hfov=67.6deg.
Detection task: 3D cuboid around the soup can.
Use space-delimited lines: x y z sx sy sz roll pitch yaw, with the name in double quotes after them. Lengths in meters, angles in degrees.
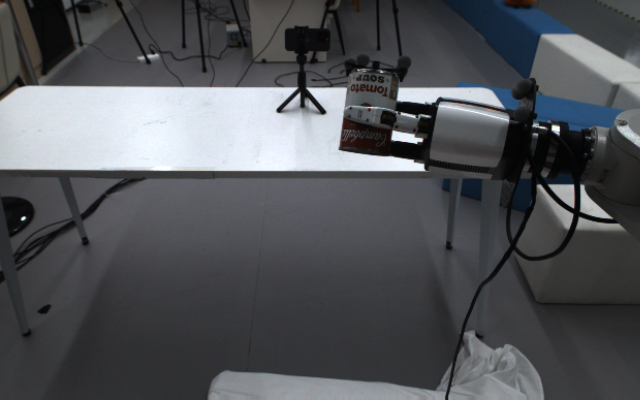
0.065 -0.113 0.630 0.067 0.101 0.067 7 4 0 "soup can"
